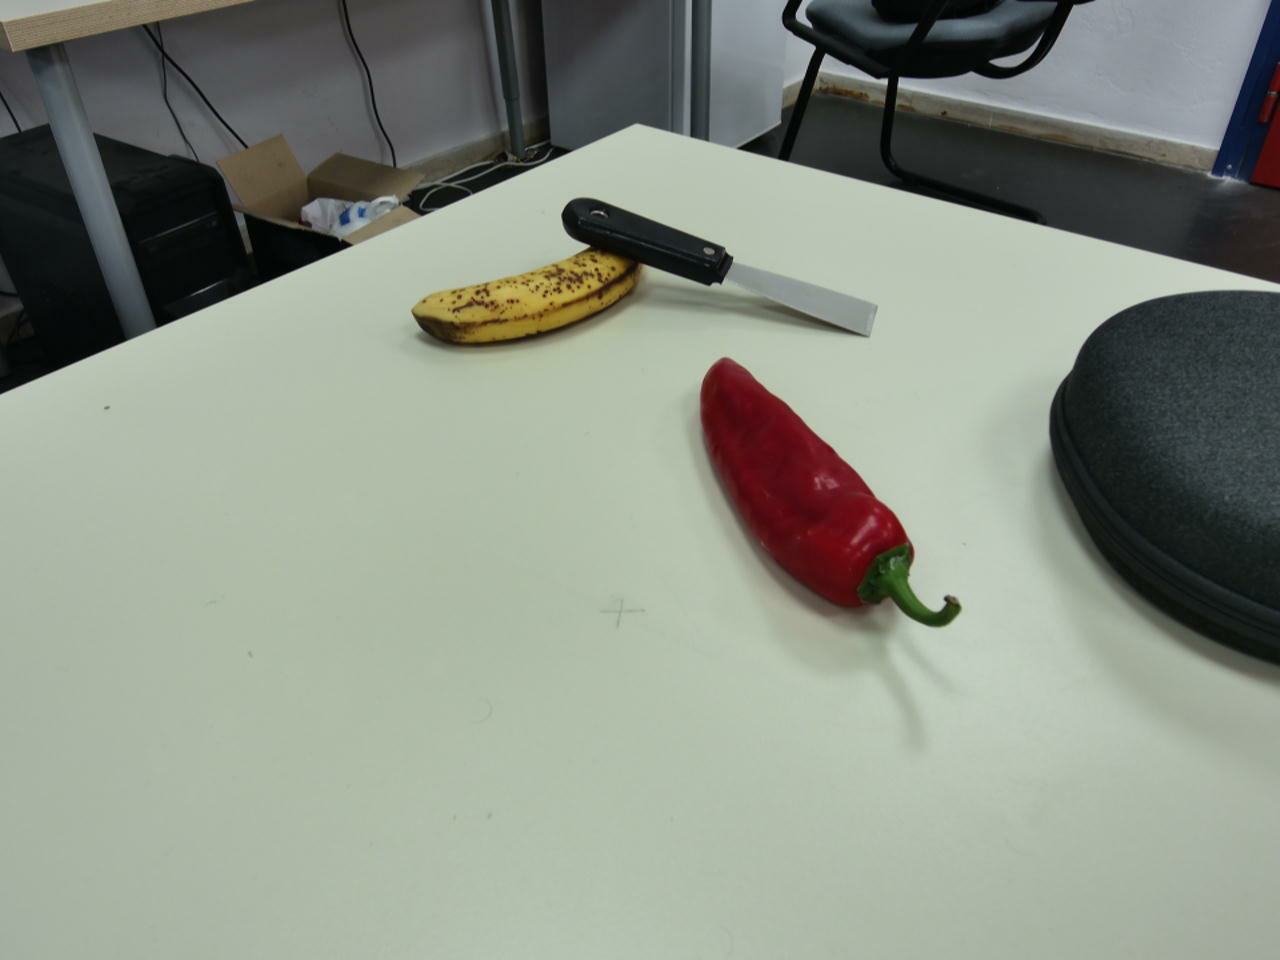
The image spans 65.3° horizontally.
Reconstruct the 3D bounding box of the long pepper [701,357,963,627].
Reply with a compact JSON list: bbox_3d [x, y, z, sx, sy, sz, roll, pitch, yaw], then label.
[{"bbox_3d":[0.067,-0.001,0.430,0.050,0.043,0.211,-11,37,-14],"label":"long pepper"}]
